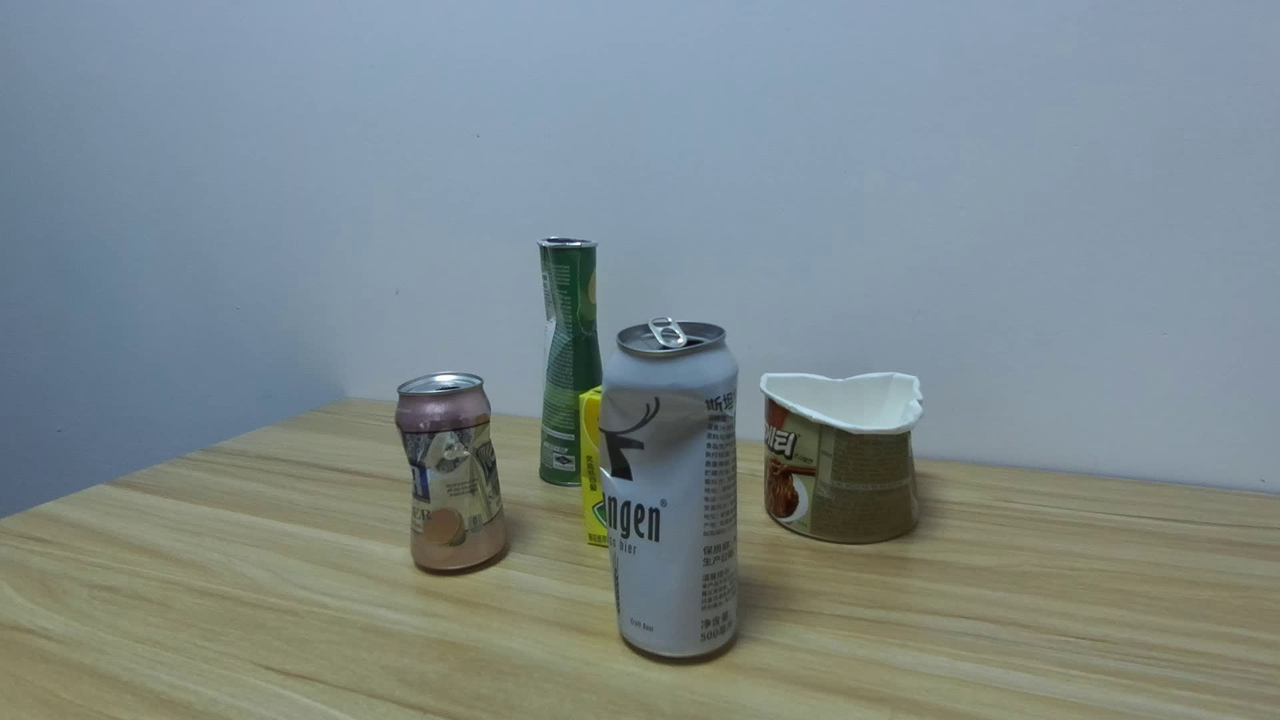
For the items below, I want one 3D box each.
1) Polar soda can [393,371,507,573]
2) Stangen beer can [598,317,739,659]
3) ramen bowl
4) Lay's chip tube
[{"bbox_3d":[-0.127,0.076,0.473,0.067,0.122,0.074,2,10,29],"label":"Polar soda can"},{"bbox_3d":[0.017,0.066,0.365,0.070,0.173,0.070,-6,15,-15],"label":"Stangen beer can"},{"bbox_3d":[0.146,0.067,0.506,0.113,0.097,0.134,0,13,8],"label":"ramen bowl"},{"bbox_3d":[-0.057,0.001,0.592,0.074,0.199,0.069,5,14,28],"label":"Lay's chip tube"}]
